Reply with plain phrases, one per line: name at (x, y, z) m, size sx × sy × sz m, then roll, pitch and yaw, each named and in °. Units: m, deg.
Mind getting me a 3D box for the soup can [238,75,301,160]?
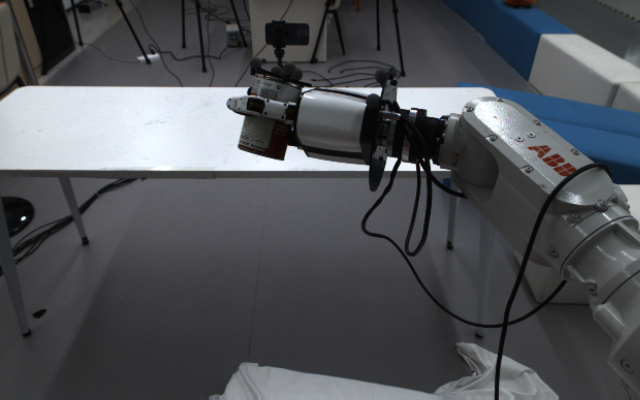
soup can at (-0.068, -0.111, 0.659) m, size 0.067 × 0.101 × 0.067 m, roll 15°, pitch 7°, yaw -2°
